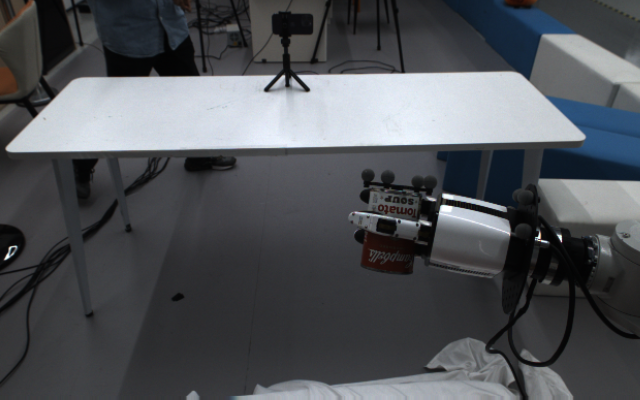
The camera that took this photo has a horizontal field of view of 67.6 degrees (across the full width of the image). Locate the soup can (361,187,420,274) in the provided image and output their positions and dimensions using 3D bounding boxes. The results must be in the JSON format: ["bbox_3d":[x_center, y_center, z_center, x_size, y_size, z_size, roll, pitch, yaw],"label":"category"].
[{"bbox_3d":[0.092,0.038,0.616,0.067,0.101,0.067,7,3,0],"label":"soup can"}]
